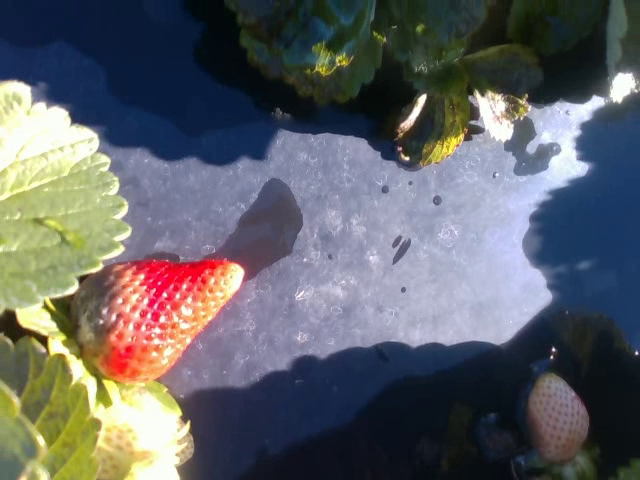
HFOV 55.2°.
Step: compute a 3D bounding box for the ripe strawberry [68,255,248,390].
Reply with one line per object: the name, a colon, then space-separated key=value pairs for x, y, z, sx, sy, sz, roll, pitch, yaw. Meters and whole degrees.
ripe strawberry: x=-0.053 y=0.021 z=0.207 sx=0.064 sy=0.050 sz=0.052 roll=-30 pitch=47 yaw=-5
